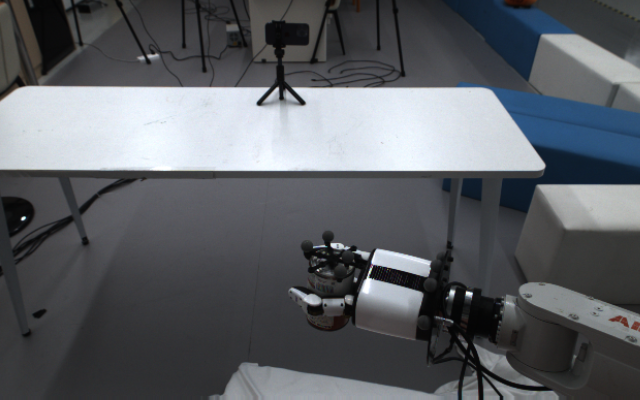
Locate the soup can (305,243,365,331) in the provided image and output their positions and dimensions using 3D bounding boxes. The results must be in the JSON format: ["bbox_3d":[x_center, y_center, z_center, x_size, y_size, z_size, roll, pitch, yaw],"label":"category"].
[{"bbox_3d":[0.016,0.131,0.701,0.067,0.101,0.067,3,30,-2],"label":"soup can"}]
